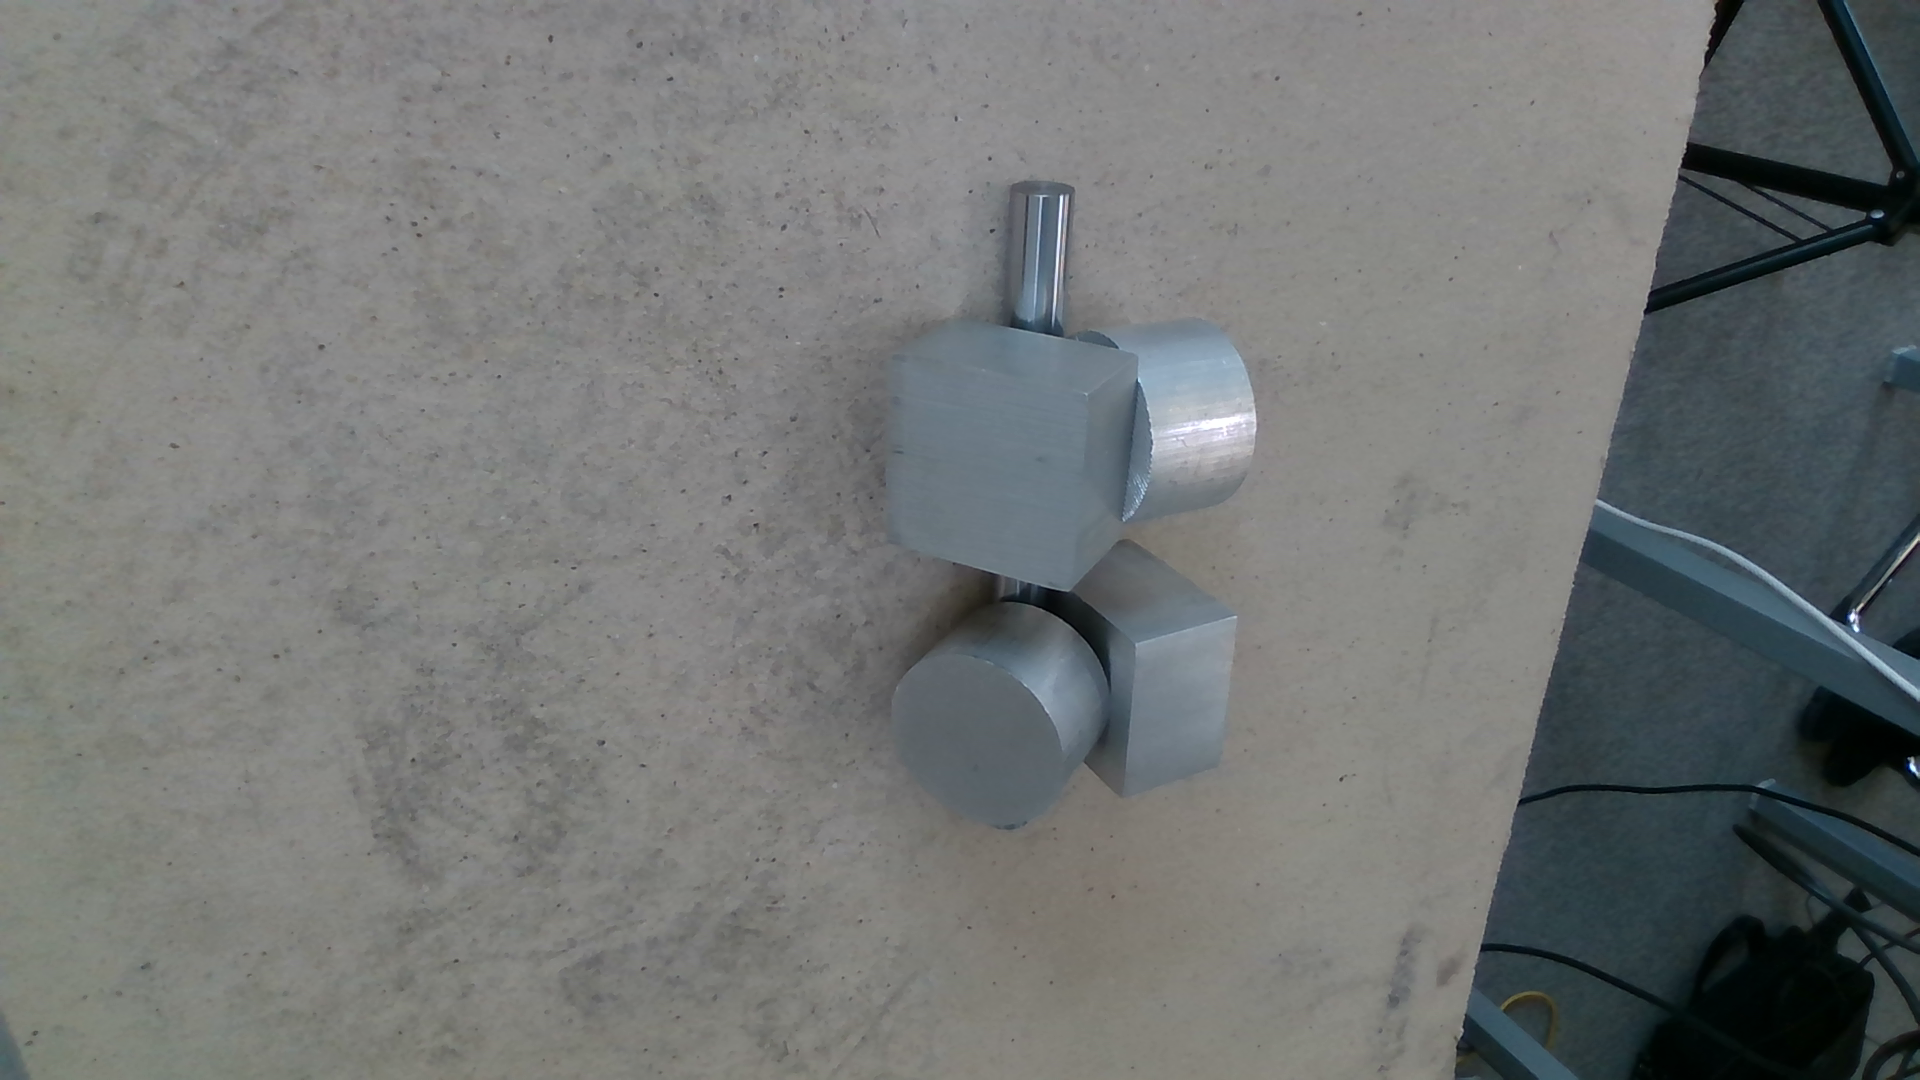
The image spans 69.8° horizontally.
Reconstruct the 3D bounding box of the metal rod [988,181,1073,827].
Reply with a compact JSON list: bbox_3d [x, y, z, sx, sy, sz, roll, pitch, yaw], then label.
[{"bbox_3d":[0.026,-0.002,0.598,0.025,0.025,0.301,-12,121,-26],"label":"metal rod"}]

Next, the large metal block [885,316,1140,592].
[{"bbox_3d":[0.019,-0.036,0.530,0.050,0.080,0.080,-41,140,-53],"label":"large metal block"}]

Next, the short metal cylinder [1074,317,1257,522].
[{"bbox_3d":[0.076,-0.050,0.565,0.050,0.080,0.080,-11,120,-27],"label":"short metal cylinder"}]

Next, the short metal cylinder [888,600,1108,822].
[{"bbox_3d":[0.017,0.072,0.587,0.050,0.080,0.080,-42,140,-53],"label":"short metal cylinder"}]

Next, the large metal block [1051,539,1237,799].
[{"bbox_3d":[0.075,0.055,0.622,0.050,0.080,0.080,-13,121,-26],"label":"large metal block"}]
